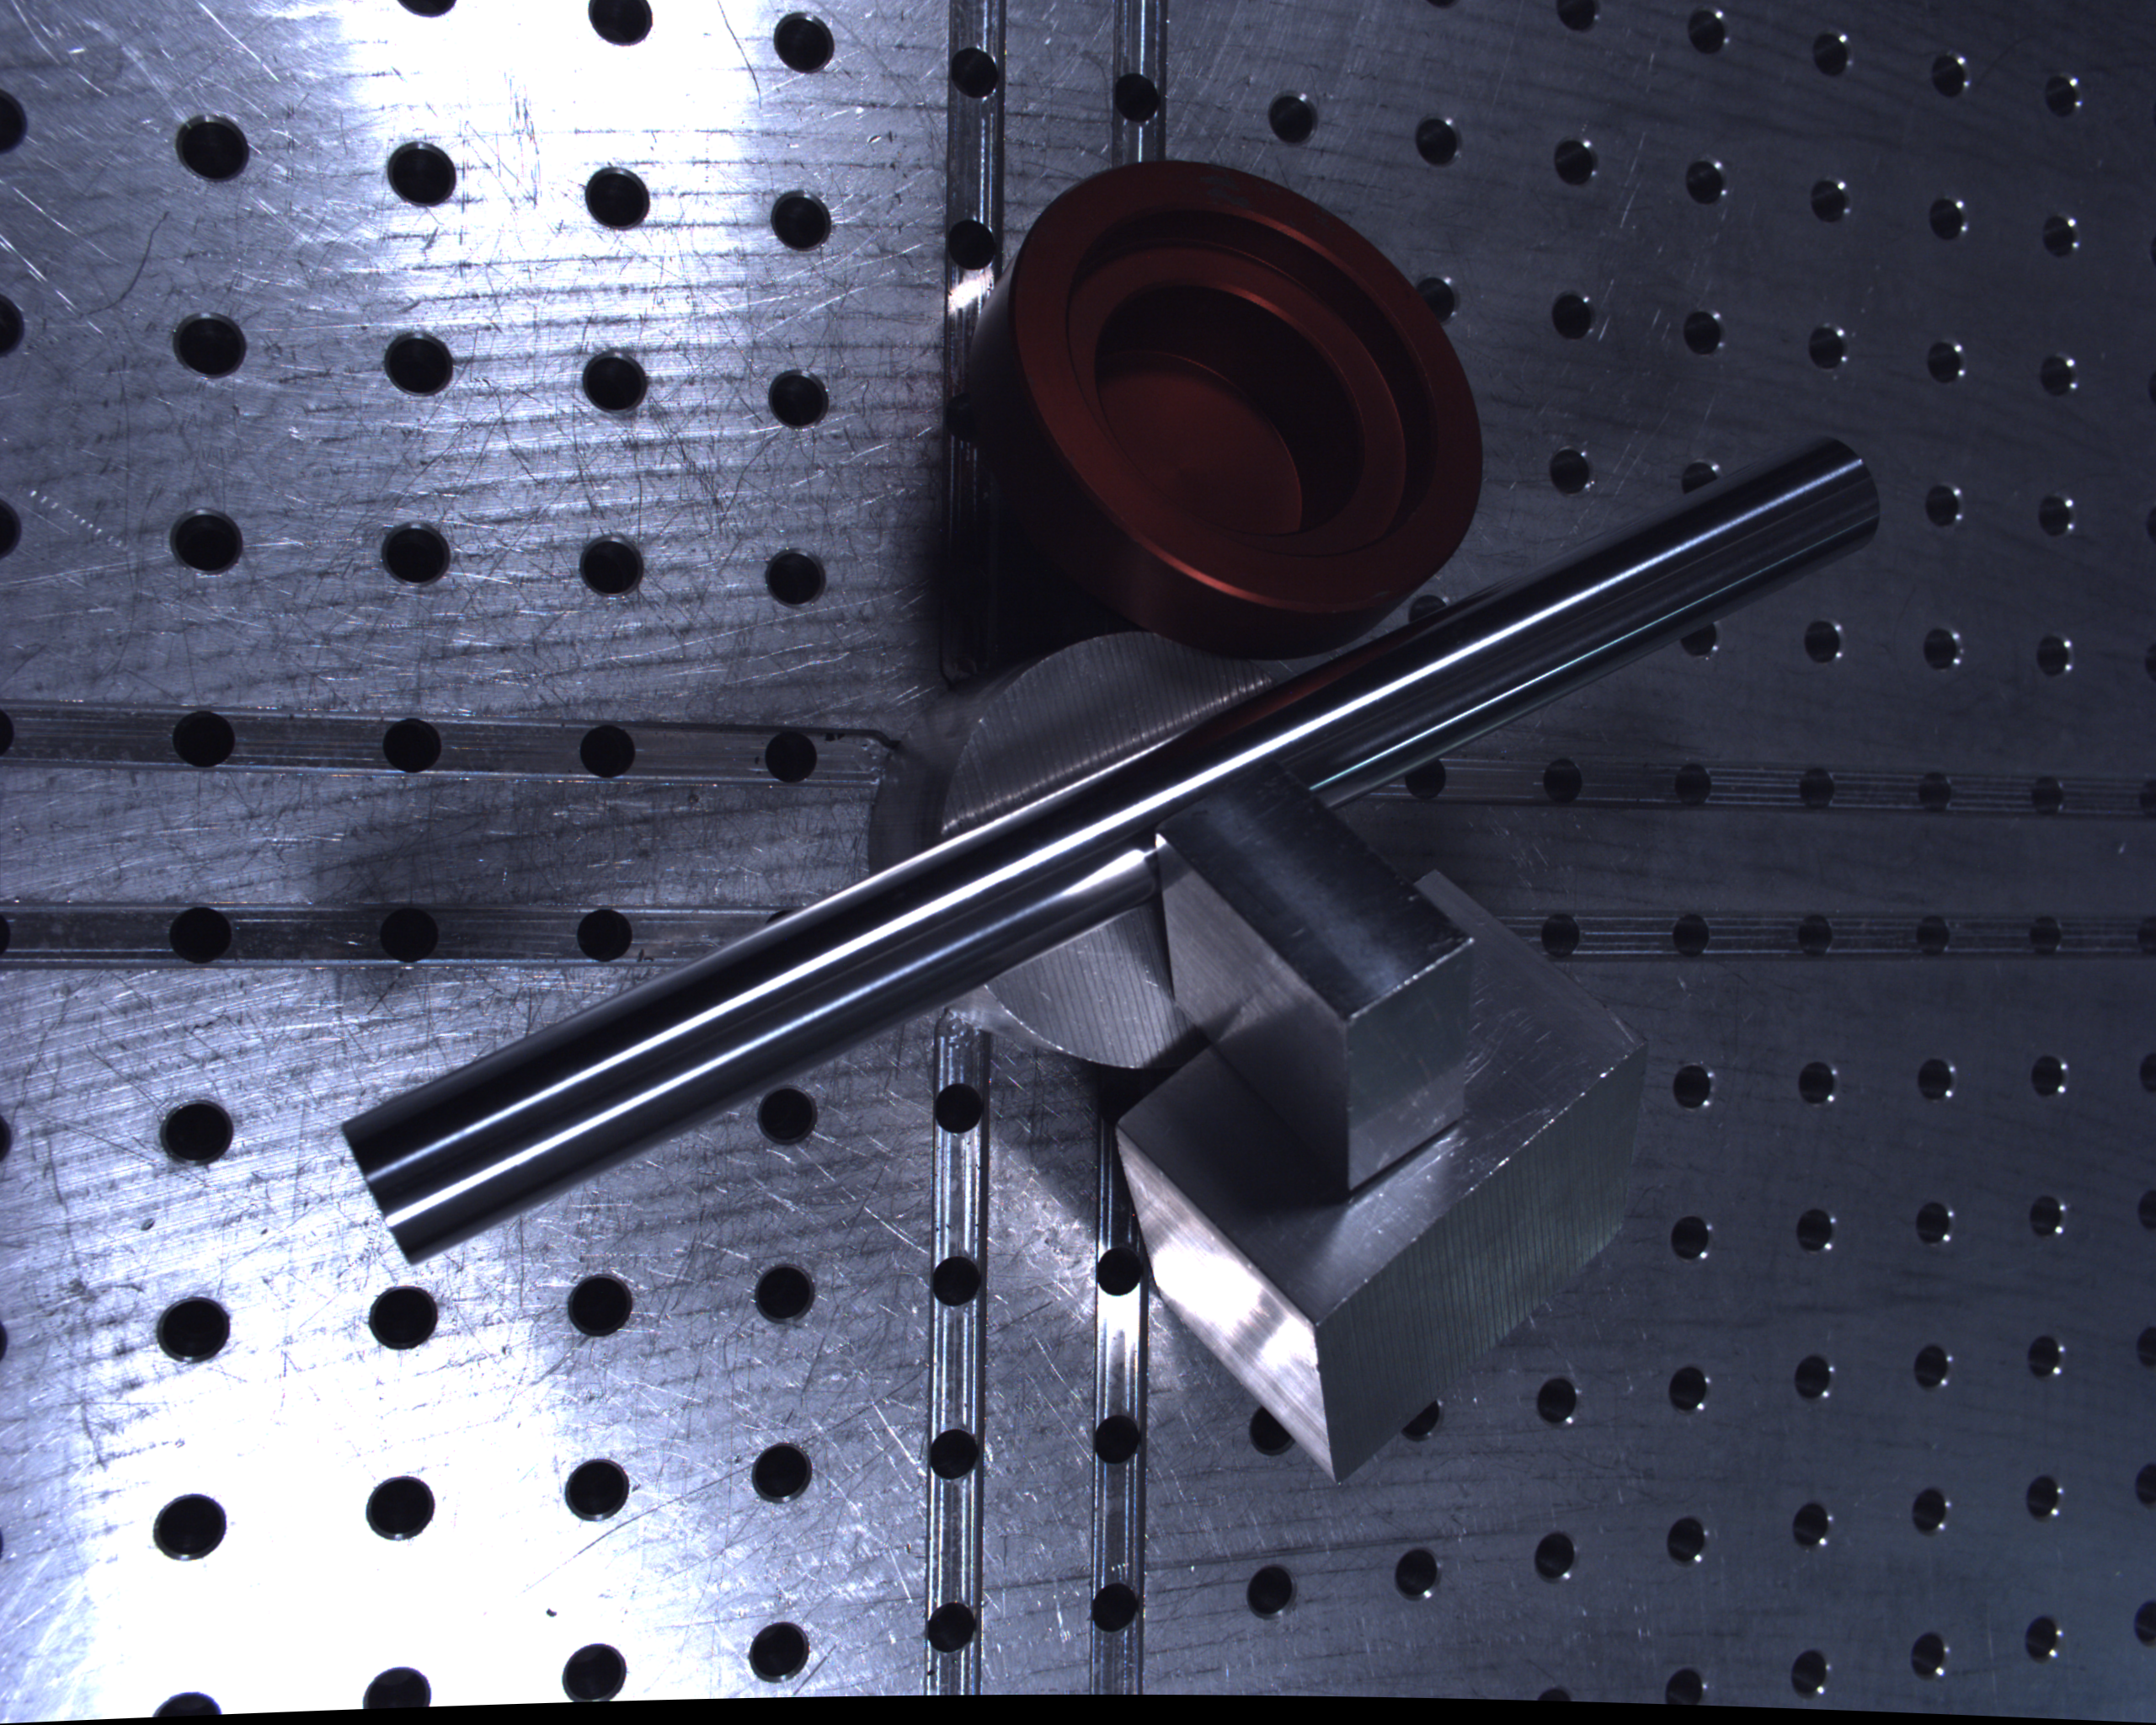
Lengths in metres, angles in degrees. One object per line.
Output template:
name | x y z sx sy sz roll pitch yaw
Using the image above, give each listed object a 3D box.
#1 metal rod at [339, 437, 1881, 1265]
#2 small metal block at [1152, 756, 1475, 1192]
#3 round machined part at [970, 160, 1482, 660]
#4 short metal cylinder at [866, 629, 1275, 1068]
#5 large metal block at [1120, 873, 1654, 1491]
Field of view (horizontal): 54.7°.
metal rod | 0.021 -0.011 0.368 0.302 0.025 0.025 -26 99 -19
small metal block | 0.039 0.019 0.350 0.025 0.050 0.050 -31 143 -18
round machined part | 0.025 -0.082 0.401 0.099 0.042 0.098 11 63 -22
short metal cylinder | 0.005 -0.003 0.401 0.081 0.050 0.079 0 90 -21
large metal block | 0.060 0.062 0.398 0.080 0.050 0.080 -37 147 -16
